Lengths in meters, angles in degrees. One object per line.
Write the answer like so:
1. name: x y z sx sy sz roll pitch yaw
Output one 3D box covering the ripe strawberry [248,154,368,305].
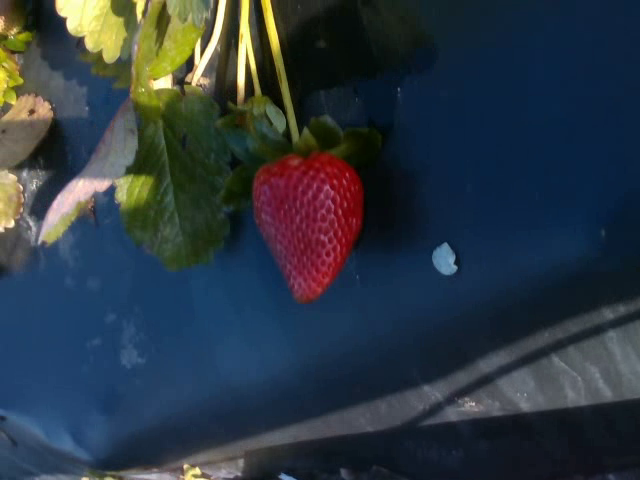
1. ripe strawberry: -0.003 -0.003 0.193 0.045 0.055 0.042 -13 -31 21
